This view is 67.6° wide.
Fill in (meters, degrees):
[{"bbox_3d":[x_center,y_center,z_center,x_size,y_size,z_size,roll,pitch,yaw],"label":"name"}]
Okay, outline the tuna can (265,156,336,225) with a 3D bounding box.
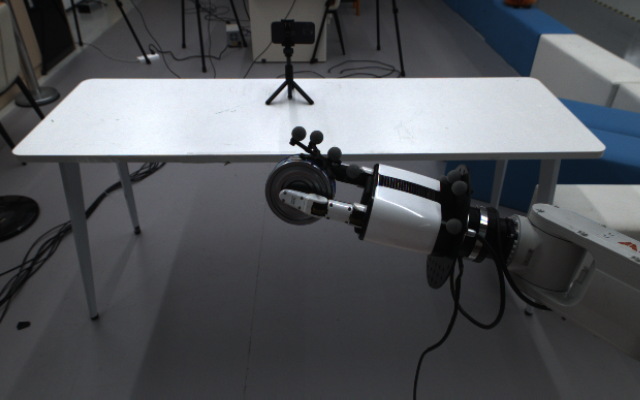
[{"bbox_3d":[-0.023,-0.013,0.604,0.085,0.085,0.034,6,19,6],"label":"tuna can"}]
